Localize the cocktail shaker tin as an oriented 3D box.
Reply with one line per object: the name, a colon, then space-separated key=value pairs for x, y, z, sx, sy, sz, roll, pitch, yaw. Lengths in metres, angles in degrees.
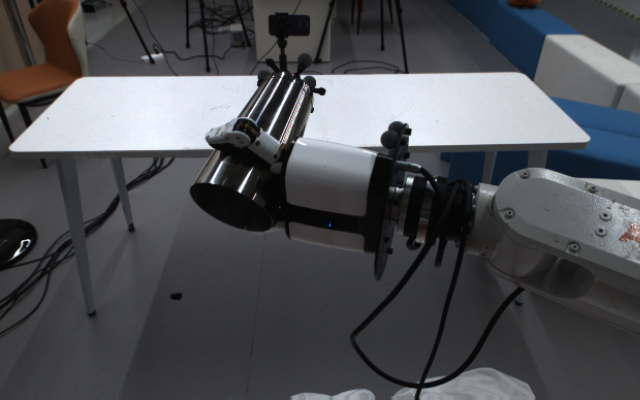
cocktail shaker tin: x=-0.065 y=-0.060 z=0.539 sx=0.093 sy=0.093 sz=0.170 roll=13 pitch=60 yaw=15
